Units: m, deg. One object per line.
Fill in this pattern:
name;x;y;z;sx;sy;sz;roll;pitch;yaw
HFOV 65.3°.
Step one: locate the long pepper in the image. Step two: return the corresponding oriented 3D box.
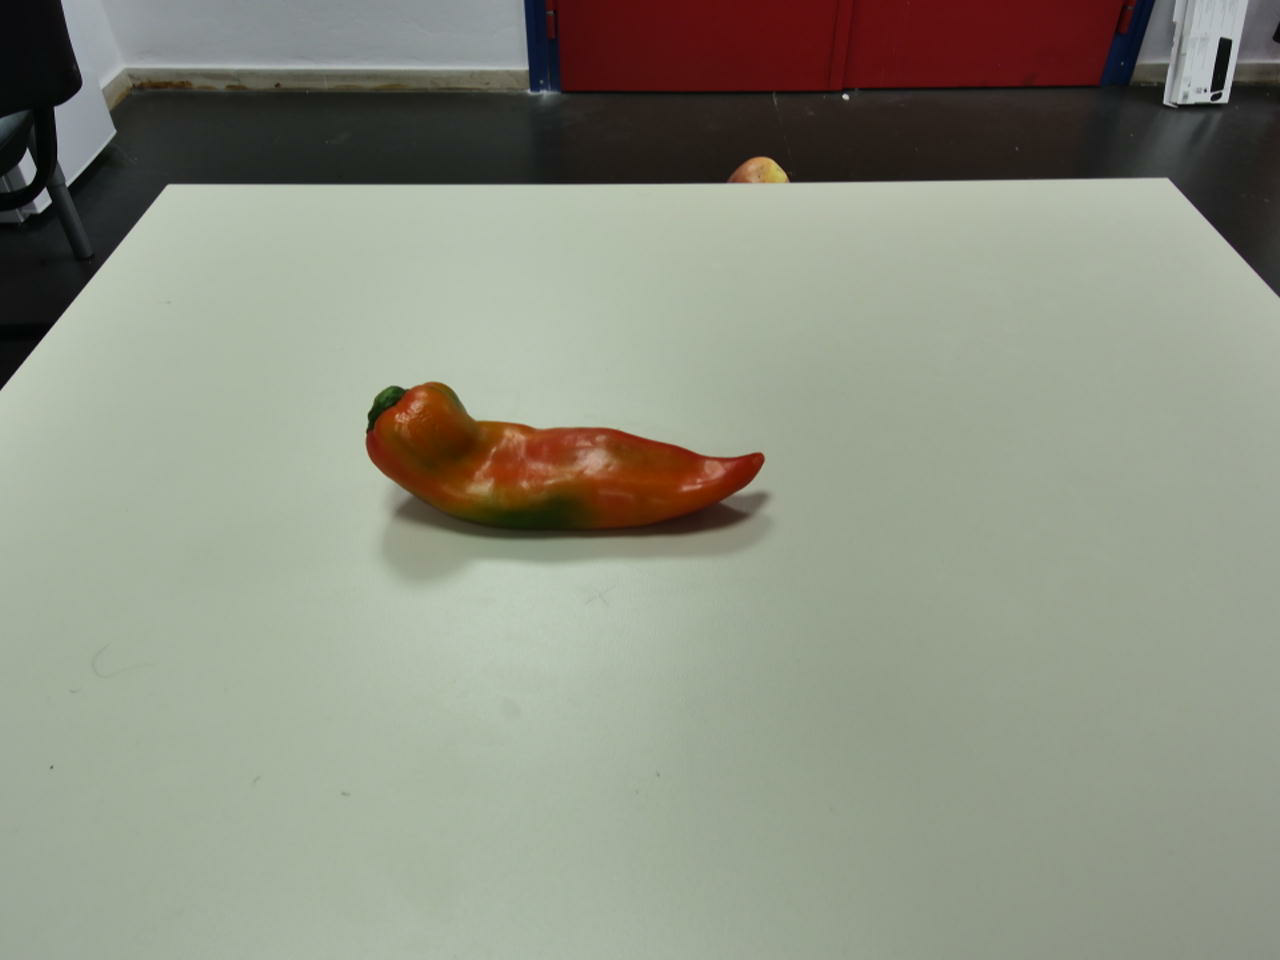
long pepper;-0.037;-0.015;0.501;0.199;0.065;0.066;3;39;4
